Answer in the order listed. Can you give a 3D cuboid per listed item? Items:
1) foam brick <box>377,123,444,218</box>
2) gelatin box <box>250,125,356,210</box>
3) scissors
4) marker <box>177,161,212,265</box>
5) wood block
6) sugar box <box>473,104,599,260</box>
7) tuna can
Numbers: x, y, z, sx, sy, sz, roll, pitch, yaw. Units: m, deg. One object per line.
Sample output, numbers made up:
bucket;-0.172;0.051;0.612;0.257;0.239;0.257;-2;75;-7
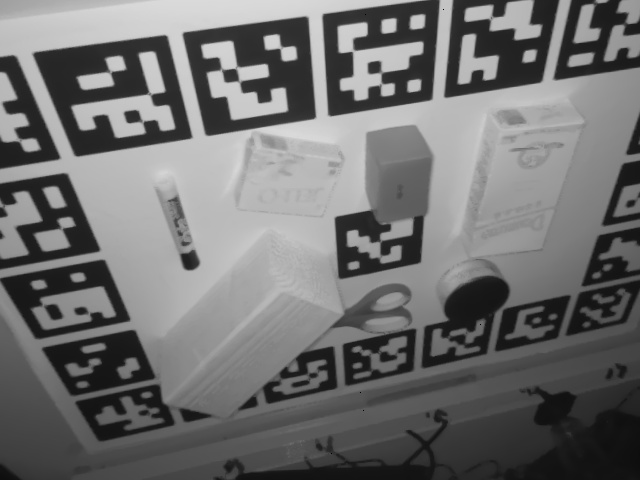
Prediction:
foam brick;0.087;-0.069;0.689;0.053;0.051;0.077;-8;130;-9
gelatin box;-0.018;-0.069;0.679;0.090;0.030;0.072;5;127;-20
scissors;0.037;0.098;0.845;0.205;0.016;0.087;-5;130;-15
marker;-0.124;-0.023;0.692;0.020;0.020;0.120;-9;128;-8
wood block;-0.075;0.091;0.761;0.091;0.091;0.204;29;117;-34
sugar box;0.227;-0.059;0.749;0.093;0.045;0.174;-6;130;-10
tuna can;0.209;0.072;0.855;0.086;0.034;0.085;-8;130;-9
